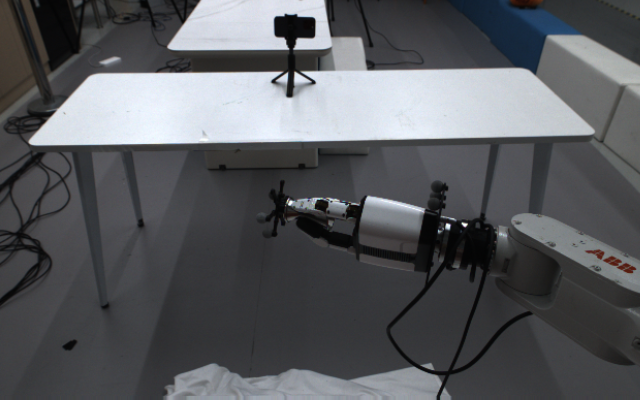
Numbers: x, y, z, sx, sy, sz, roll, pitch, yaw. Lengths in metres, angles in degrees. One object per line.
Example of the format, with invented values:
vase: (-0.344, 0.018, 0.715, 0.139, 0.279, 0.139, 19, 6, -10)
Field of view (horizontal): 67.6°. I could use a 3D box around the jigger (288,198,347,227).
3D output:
jigger: (-0.009, 0.014, 0.722, 0.071, 0.043, 0.043, 8, 35, 15)
